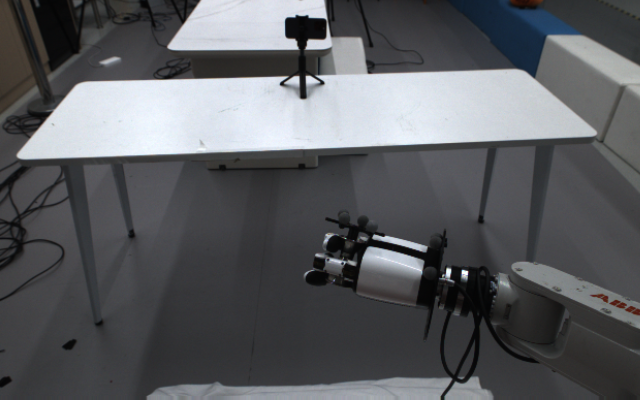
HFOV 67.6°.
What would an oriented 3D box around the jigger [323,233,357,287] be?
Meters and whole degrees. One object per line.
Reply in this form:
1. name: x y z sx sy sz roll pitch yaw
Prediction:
1. jigger: 0.038 0.088 0.703 0.043 0.071 0.043 17 2 -1
